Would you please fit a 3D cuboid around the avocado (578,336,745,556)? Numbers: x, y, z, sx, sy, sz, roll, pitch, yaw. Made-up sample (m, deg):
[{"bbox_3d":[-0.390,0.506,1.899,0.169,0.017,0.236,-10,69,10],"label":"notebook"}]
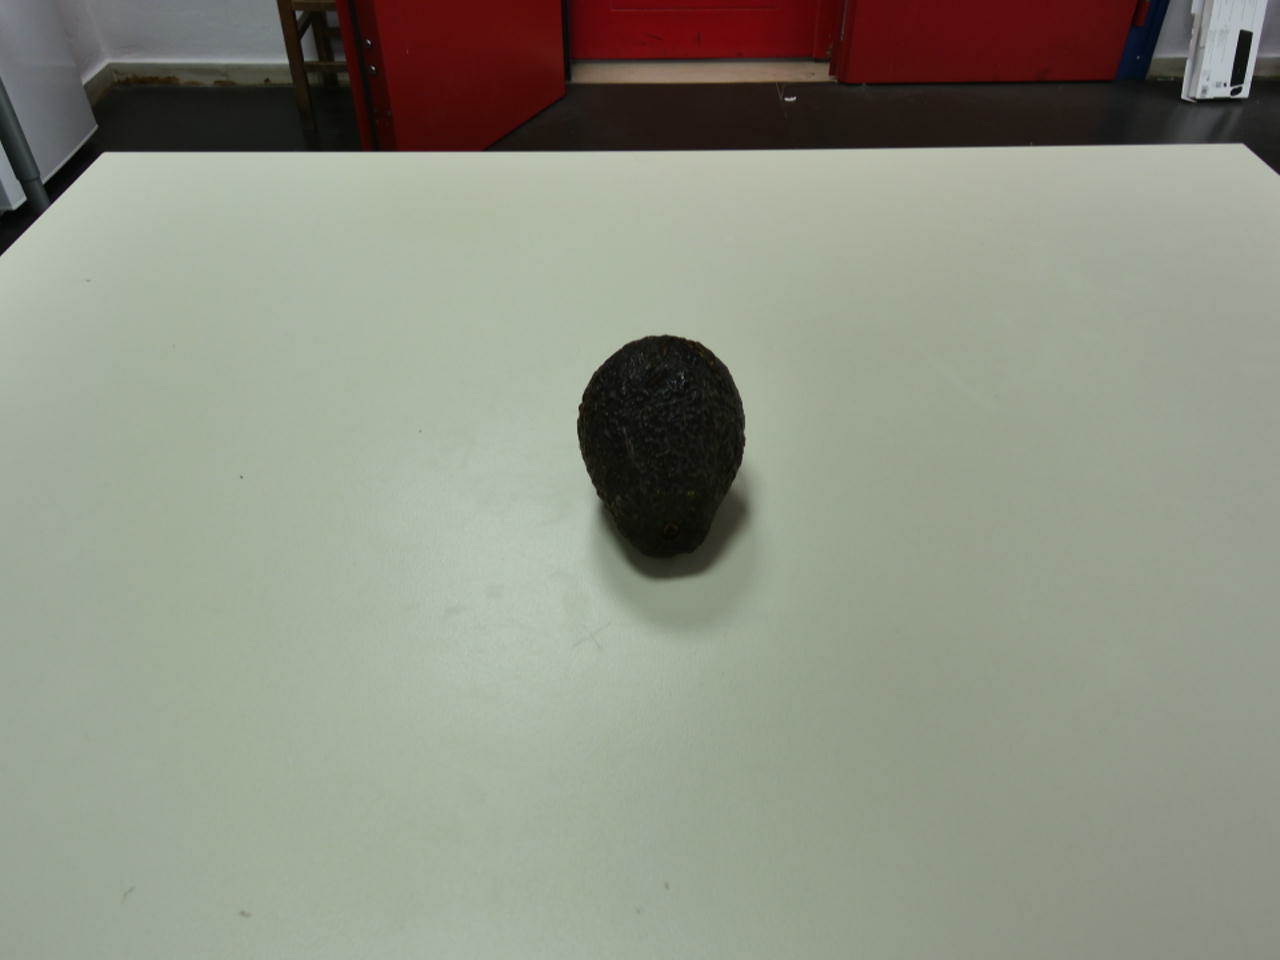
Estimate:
[{"bbox_3d":[0.007,-0.019,0.410,0.070,0.069,0.090,16,41,19],"label":"avocado"}]
